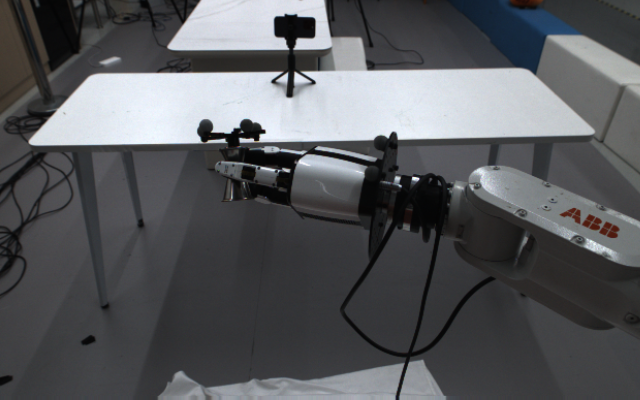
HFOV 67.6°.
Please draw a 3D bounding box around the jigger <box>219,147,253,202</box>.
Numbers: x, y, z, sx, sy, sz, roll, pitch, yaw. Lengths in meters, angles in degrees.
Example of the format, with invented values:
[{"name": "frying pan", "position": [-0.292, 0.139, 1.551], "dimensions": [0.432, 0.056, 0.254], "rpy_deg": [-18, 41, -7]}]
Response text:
[{"name": "jigger", "position": [-0.109, -0.034, 0.629], "dimensions": [0.043, 0.071, 0.043], "rpy_deg": [-4, 1, 0]}]
